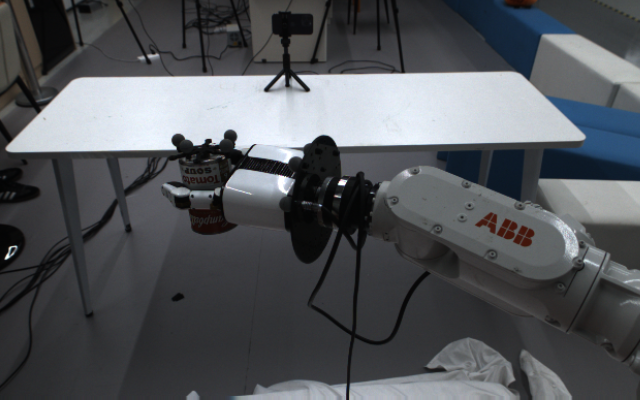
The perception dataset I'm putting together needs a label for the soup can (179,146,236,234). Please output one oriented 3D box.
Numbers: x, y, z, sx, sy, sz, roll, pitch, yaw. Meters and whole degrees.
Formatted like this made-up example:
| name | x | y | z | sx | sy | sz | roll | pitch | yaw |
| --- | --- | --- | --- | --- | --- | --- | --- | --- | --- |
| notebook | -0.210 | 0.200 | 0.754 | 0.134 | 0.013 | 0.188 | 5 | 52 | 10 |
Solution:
| name | x | y | z | sx | sy | sz | roll | pitch | yaw |
| --- | --- | --- | --- | --- | --- | --- | --- | --- | --- |
| soup can | -0.146 | -0.013 | 0.646 | 0.067 | 0.101 | 0.067 | -4 | 25 | 2 |
